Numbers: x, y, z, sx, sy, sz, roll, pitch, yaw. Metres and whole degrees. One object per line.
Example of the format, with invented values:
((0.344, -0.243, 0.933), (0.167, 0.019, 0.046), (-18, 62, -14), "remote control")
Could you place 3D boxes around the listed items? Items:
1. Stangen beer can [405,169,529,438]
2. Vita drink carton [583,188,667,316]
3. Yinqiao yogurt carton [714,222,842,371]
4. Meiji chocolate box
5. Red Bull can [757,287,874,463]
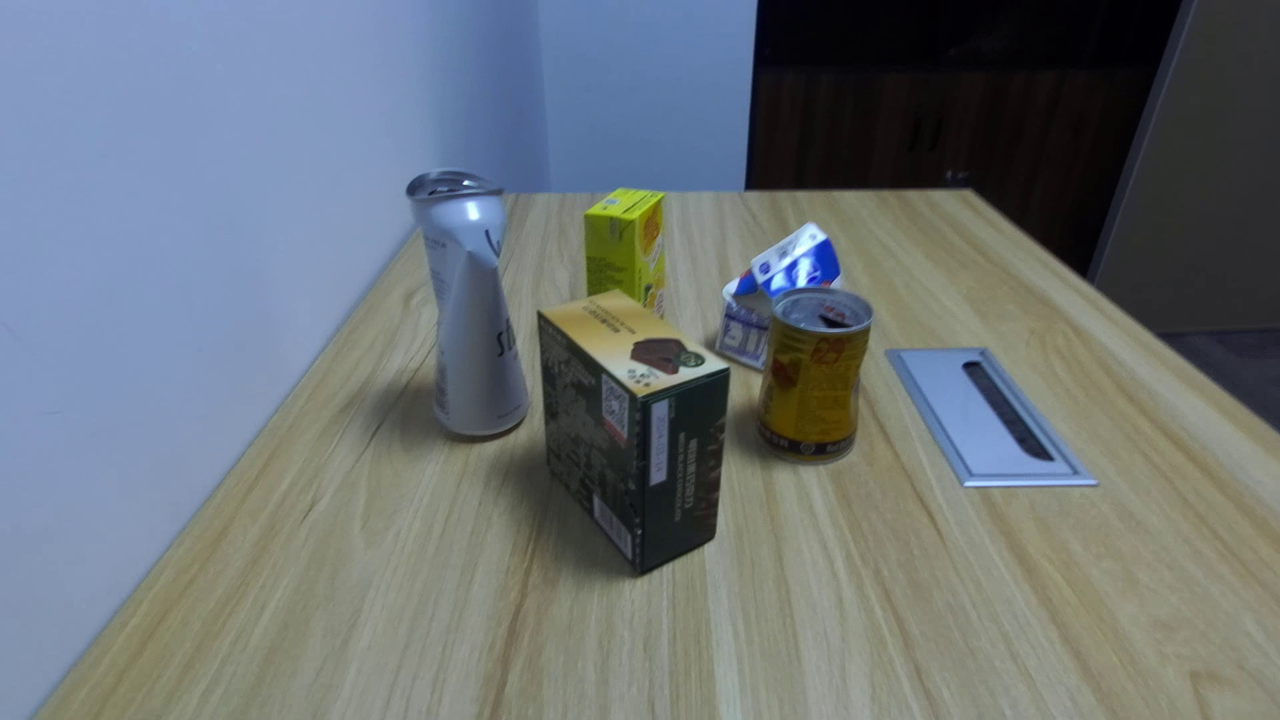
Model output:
((-0.106, -0.032, 0.448), (0.077, 0.162, 0.066), (10, 33, 17), "Stangen beer can")
((-0.010, -0.073, 0.559), (0.043, 0.109, 0.067), (12, 34, 19), "Vita drink carton")
((0.110, -0.050, 0.534), (0.077, 0.093, 0.083), (24, 38, 36), "Yinqiao yogurt carton")
((-0.006, 0.035, 0.385), (0.056, 0.109, 0.109), (-17, 35, -27), "Meiji chocolate box")
((0.107, 0.008, 0.437), (0.069, 0.092, 0.069), (-1, 32, 1), "Red Bull can")
